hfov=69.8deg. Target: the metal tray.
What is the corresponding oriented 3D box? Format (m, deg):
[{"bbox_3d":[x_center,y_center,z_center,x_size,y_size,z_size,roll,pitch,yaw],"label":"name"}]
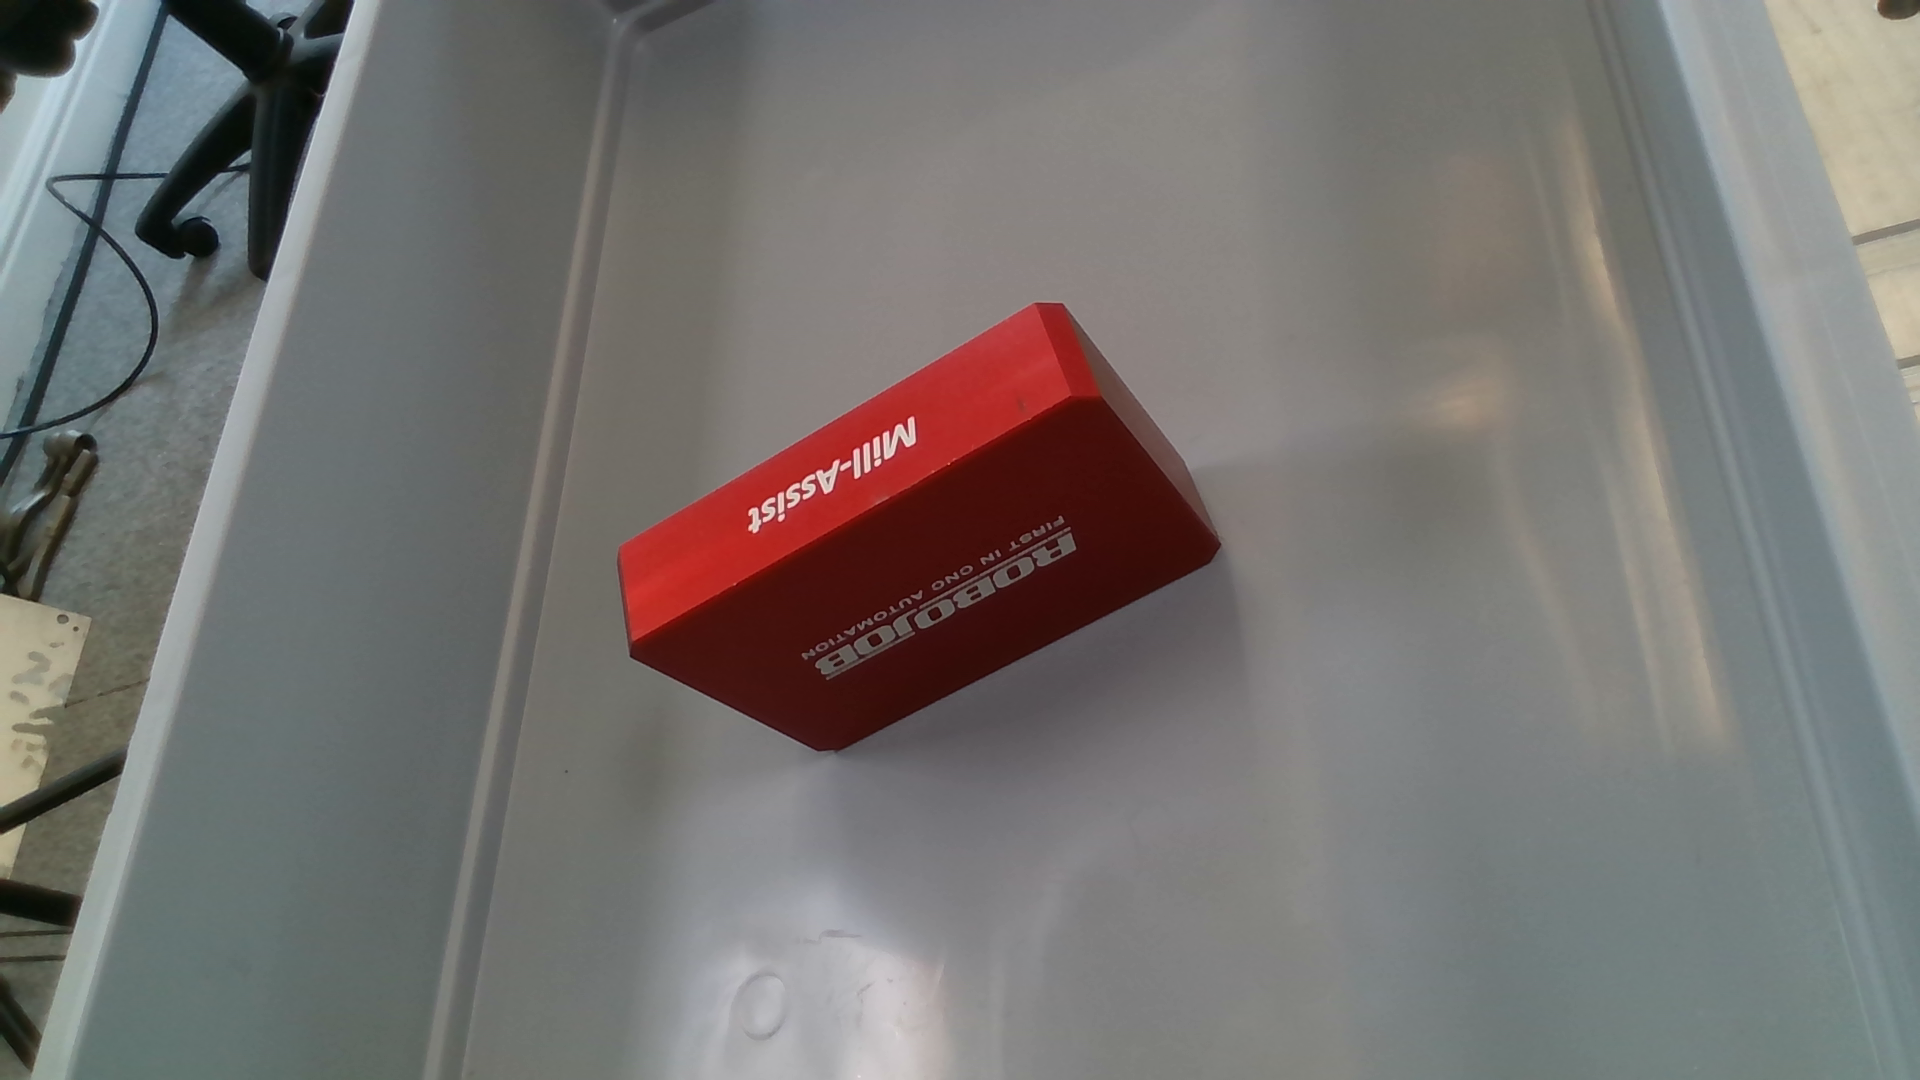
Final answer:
[{"bbox_3d":[-0.010,0.003,0.352,0.130,0.090,0.030,-29,55,16],"label":"metal tray"}]
